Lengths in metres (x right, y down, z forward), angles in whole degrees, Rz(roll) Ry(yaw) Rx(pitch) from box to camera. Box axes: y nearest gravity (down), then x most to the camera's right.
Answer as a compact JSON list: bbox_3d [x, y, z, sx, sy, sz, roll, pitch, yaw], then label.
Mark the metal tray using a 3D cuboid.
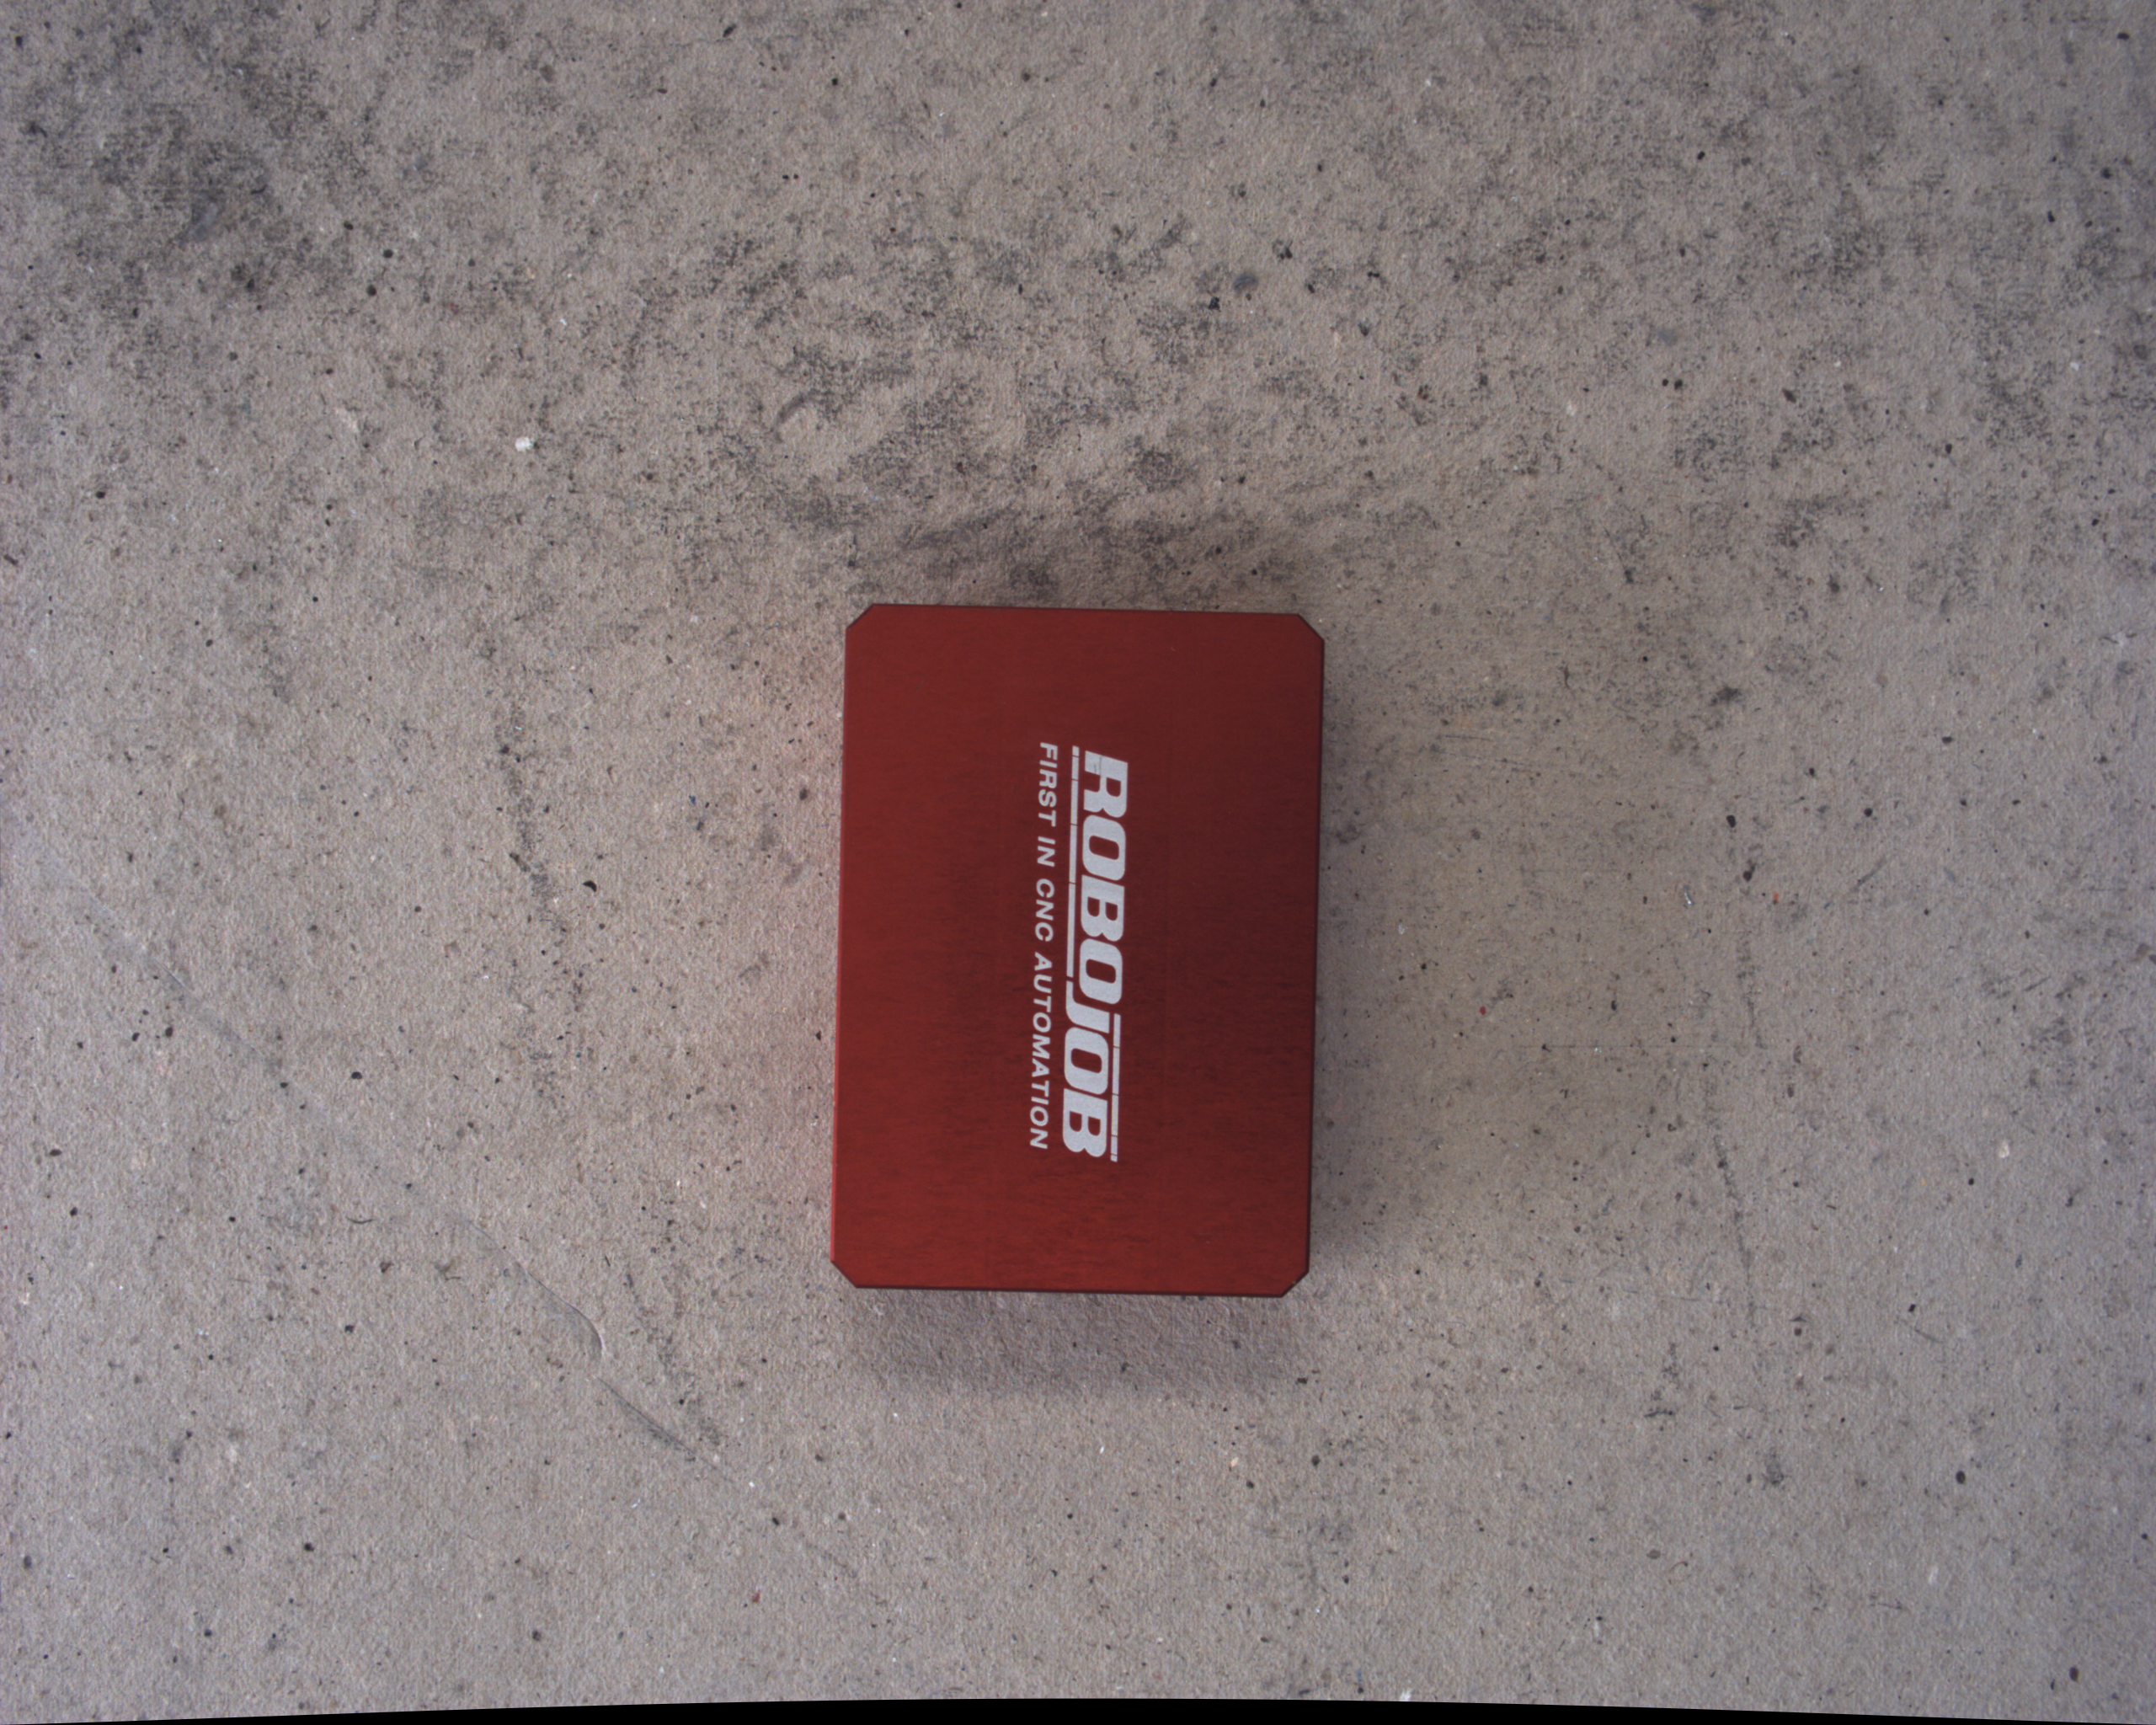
[{"bbox_3d":[0.000,0.017,0.408,0.090,0.030,0.129,1,91,-1],"label":"metal tray"}]
